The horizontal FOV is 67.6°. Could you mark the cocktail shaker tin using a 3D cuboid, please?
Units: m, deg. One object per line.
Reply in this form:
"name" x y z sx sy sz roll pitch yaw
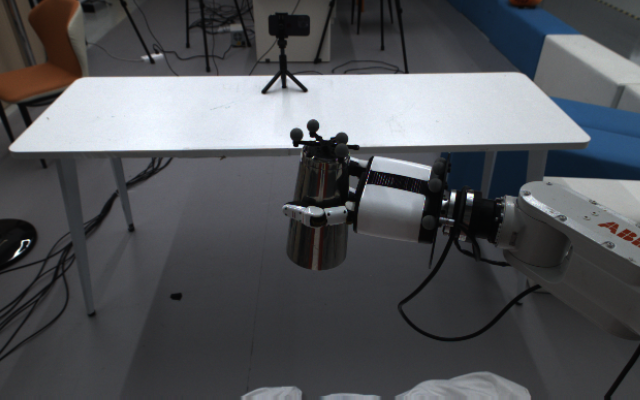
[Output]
"cocktail shaker tin" 0.002 0.005 0.690 0.093 0.170 0.093 4 32 -2
